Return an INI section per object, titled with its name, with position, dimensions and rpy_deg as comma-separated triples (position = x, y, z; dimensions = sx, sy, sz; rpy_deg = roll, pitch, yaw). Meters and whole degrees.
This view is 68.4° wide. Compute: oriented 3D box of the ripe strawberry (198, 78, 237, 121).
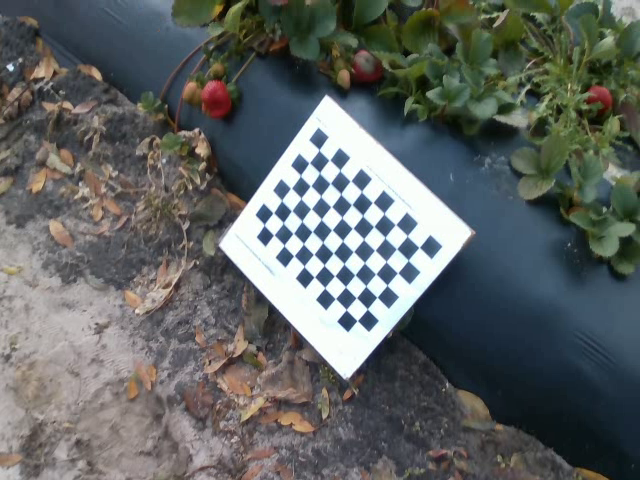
[ripe strawberry]
position = -0.188, -0.229, 0.788
dimensions = 0.066, 0.075, 0.052
rpy_deg = 27, 15, 16
